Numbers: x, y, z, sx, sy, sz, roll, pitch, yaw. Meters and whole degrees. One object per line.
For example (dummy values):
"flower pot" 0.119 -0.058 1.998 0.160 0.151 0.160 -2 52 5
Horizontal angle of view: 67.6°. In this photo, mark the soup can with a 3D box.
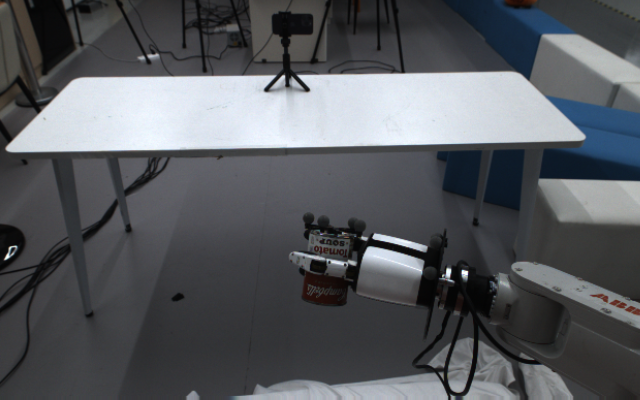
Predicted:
"soup can" 0.013 0.097 0.707 0.067 0.101 0.067 7 3 0
